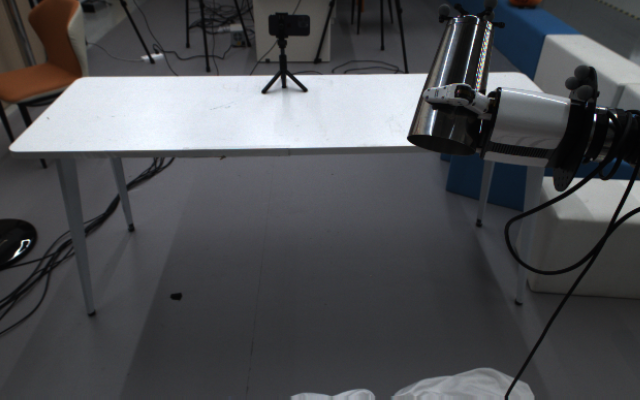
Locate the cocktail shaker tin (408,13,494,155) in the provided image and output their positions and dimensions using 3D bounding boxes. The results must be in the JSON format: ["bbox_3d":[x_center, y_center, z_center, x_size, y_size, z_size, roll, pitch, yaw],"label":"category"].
[{"bbox_3d":[0.184,-0.155,0.658,0.093,0.170,0.093,15,-4,1],"label":"cocktail shaker tin"}]
